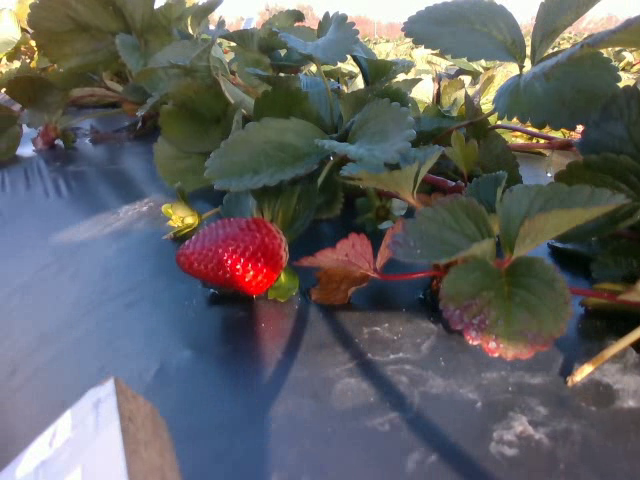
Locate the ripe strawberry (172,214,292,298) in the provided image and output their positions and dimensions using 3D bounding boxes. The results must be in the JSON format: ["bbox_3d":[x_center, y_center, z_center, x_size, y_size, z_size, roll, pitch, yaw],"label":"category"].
[{"bbox_3d":[-0.038,0.005,0.235,0.040,0.041,0.056,-23,-10,32],"label":"ripe strawberry"}]
